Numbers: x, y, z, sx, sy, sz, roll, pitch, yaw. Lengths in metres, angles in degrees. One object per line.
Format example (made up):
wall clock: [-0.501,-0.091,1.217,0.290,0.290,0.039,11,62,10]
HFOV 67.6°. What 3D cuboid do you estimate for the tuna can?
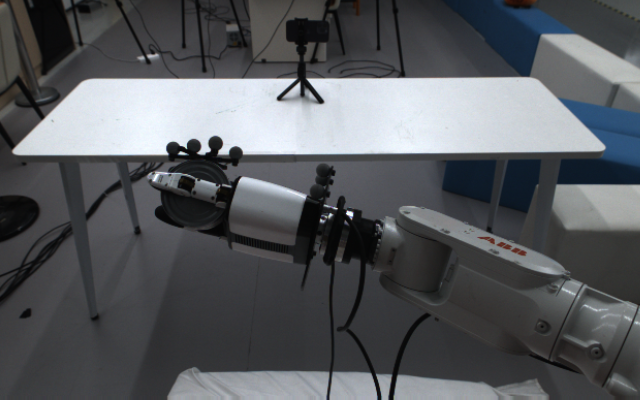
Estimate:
tuna can: [-0.150,-0.005,0.605,0.085,0.034,0.085,0,77,-1]
